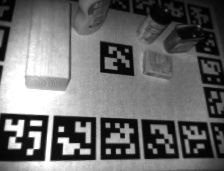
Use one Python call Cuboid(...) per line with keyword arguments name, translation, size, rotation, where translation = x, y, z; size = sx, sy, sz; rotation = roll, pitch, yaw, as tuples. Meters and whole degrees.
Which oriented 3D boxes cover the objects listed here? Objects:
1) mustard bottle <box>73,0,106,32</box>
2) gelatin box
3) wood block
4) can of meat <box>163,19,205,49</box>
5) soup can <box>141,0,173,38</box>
Cuboid(name="mustard bottle", translation=(-0.042, -0.218, 0.559), size=(0.097, 0.190, 0.058), rotation=(-21, 76, -25))
Cuboid(name="gelatin box", translation=(0.147, -0.072, 0.647), size=(0.090, 0.030, 0.073), rotation=(14, 68, -10))
Cuboid(name="wood block", translation=(-0.148, -0.112, 0.535), size=(0.092, 0.089, 0.205), rotation=(7, 64, -17))
Cuboid(name="can of meat", translation=(0.225, -0.161, 0.682), size=(0.103, 0.083, 0.057), rotation=(-8, 73, -23))
Cuboid(name="soup can", translation=(0.136, -0.196, 0.645), size=(0.068, 0.101, 0.067), rotation=(6, 70, -15))
